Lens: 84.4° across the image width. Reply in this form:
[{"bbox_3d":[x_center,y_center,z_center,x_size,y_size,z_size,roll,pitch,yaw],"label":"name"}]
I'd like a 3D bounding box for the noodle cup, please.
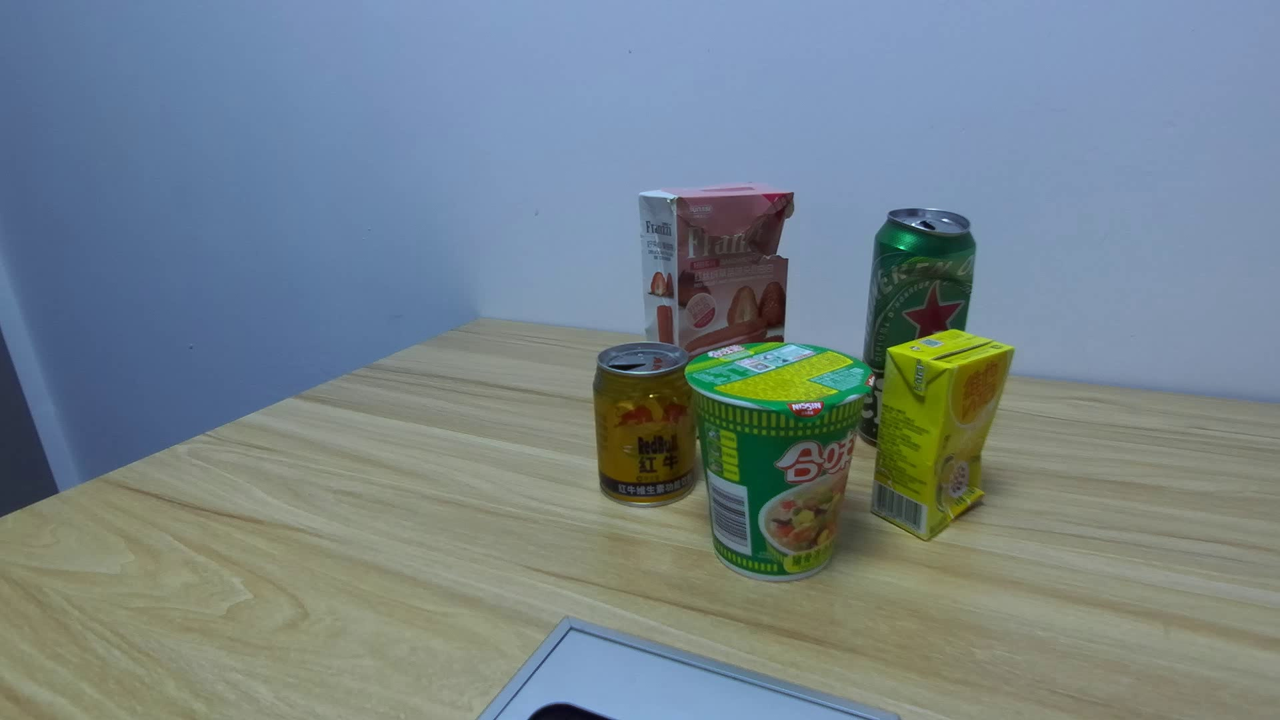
[{"bbox_3d":[0.072,0.056,0.386,0.097,0.110,0.097,-1,20,1],"label":"noodle cup"}]

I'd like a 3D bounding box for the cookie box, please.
[{"bbox_3d":[0.058,-0.037,0.542,0.105,0.186,0.059,-10,23,-22],"label":"cookie box"}]

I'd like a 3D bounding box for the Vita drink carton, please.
[{"bbox_3d":[0.182,0.042,0.422,0.077,0.109,0.043,-13,22,-32],"label":"Vita drink carton"}]

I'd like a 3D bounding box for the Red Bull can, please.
[{"bbox_3d":[0.004,0.041,0.467,0.068,0.093,0.068,-3,19,1],"label":"Red Bull can"}]
